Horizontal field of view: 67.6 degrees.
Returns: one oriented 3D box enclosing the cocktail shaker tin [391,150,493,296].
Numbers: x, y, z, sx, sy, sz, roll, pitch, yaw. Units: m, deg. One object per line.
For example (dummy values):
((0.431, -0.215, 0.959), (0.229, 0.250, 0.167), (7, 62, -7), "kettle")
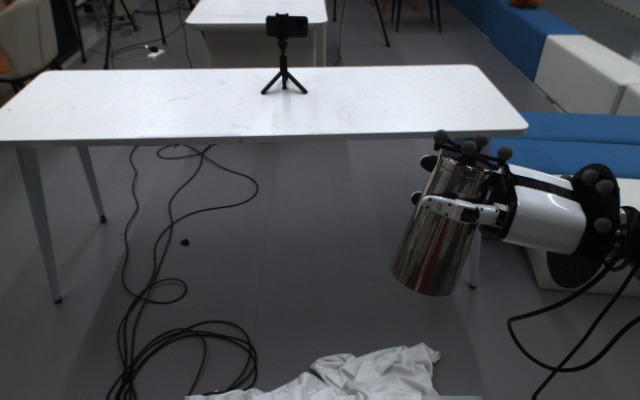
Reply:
((0.161, 0.023, 0.620), (0.093, 0.170, 0.093), (12, 25, -6), "cocktail shaker tin")
